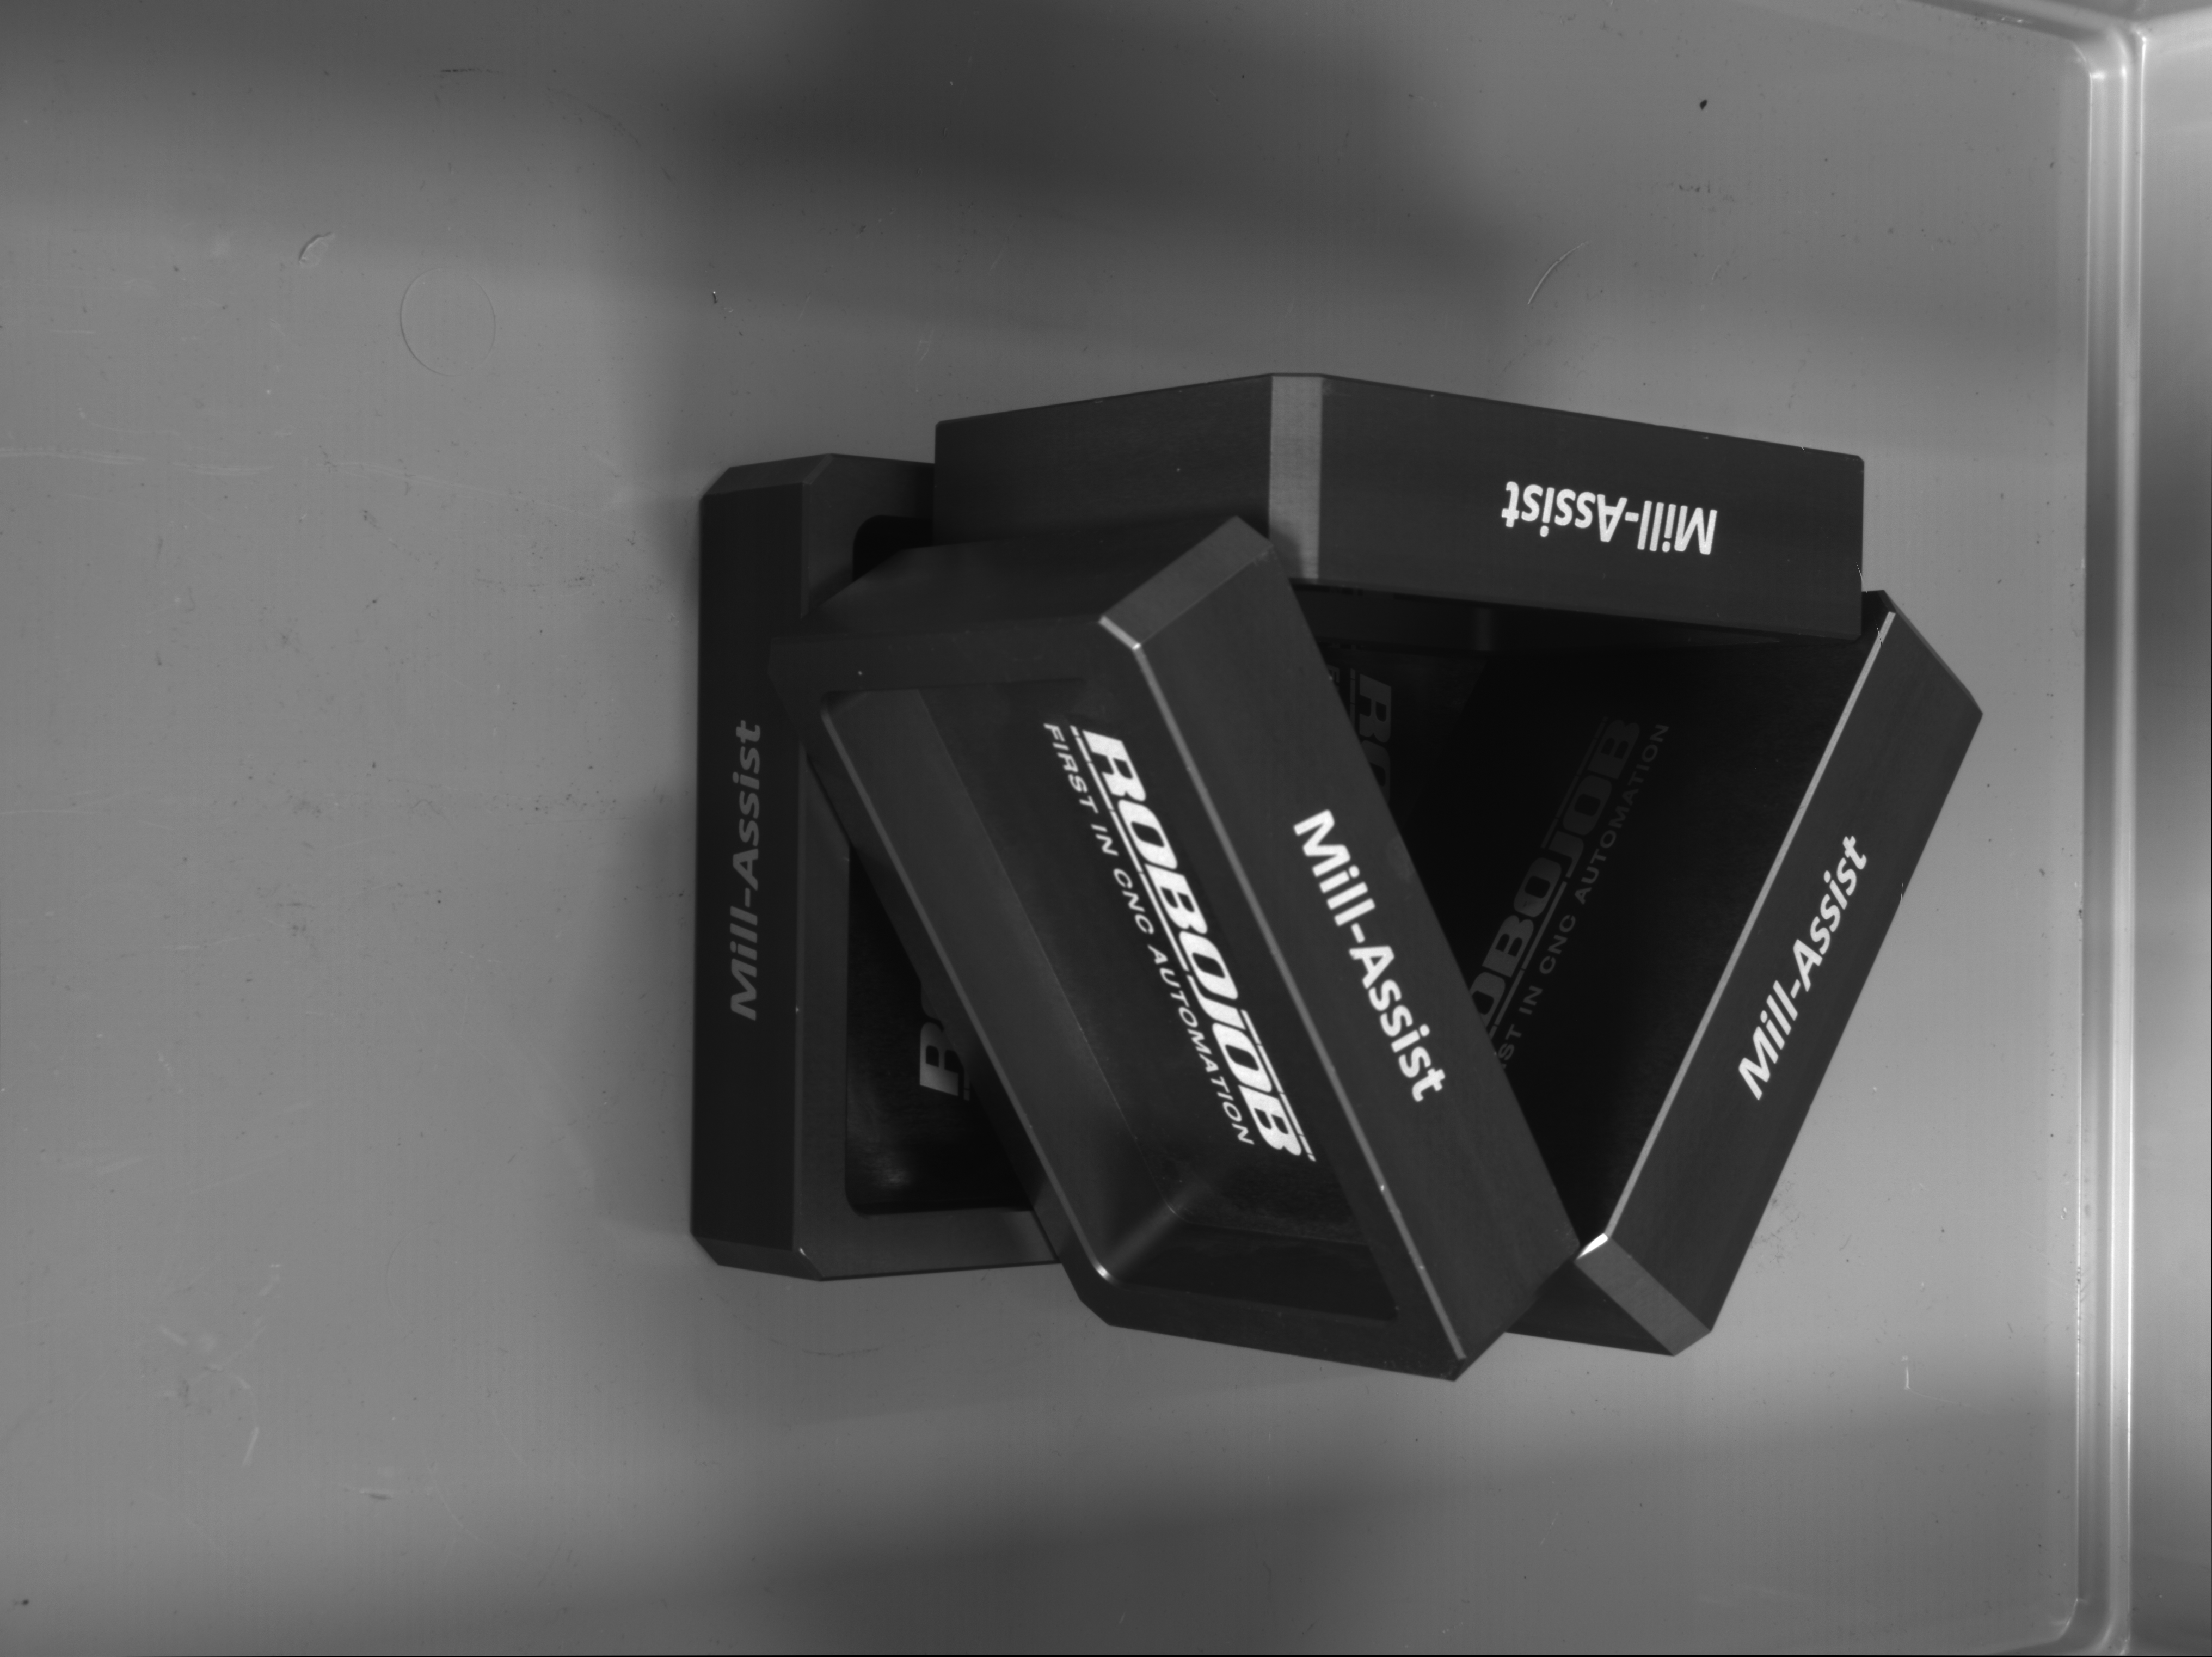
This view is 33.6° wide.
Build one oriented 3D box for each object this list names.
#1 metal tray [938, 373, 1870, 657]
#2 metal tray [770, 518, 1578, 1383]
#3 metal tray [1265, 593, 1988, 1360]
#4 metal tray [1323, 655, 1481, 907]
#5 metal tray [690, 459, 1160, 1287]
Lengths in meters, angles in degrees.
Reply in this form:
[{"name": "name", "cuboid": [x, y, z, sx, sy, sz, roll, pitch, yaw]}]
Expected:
[{"name": "metal tray", "cuboid": [0.049, -0.048, 0.593, 0.131, 0.090, 0.030, 3, 89, -39]}, {"name": "metal tray", "cuboid": [0.010, 0.019, 0.561, 0.030, 0.090, 0.130, -38, 113, -33]}, {"name": "metal tray", "cuboid": [0.084, 0.022, 0.622, 0.030, 0.090, 0.130, 43, 65, -31]}, {"name": "metal tray", "cuboid": [0.047, 0.010, 0.671, 0.090, 0.030, 0.130, 2, 88, -39]}, {"name": "metal tray", "cuboid": [-0.024, 0.007, 0.613, 0.090, 0.030, 0.130, 1, 89, -39]}]
